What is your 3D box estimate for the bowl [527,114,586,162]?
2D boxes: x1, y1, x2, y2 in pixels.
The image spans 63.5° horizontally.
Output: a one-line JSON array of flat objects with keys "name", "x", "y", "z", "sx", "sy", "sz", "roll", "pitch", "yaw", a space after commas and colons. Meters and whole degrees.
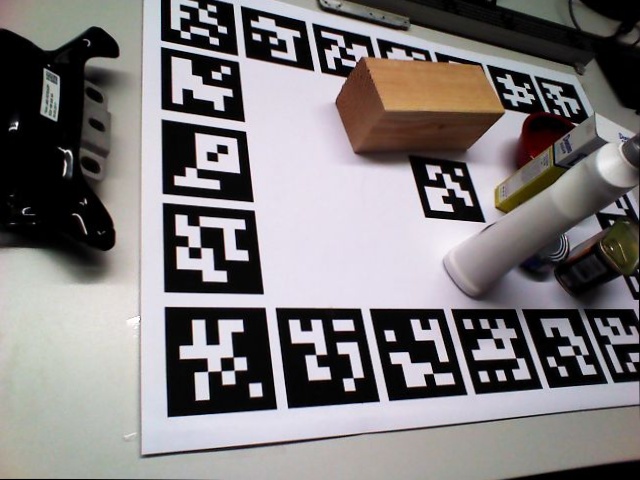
[{"name": "bowl", "x": 0.378, "y": -0.116, "z": 0.797, "sx": 0.161, "sy": 0.055, "sz": 0.161, "roll": 9, "pitch": 59, "yaw": -16}]

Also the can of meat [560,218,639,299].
[{"name": "can of meat", "x": 0.389, "y": 0.027, "z": 0.707, "sx": 0.101, "sy": 0.084, "sz": 0.058, "roll": -29, "pitch": 74, "yaw": -36}]

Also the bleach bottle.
[{"name": "bleach bottle", "x": 0.252, "y": -0.026, "z": 0.566, "sx": 0.102, "sy": 0.252, "sz": 0.068, "roll": -24, "pitch": 73, "yaw": -33}]

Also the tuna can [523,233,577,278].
[{"name": "tuna can", "x": 0.301, "y": 0.008, "z": 0.700, "sx": 0.085, "sy": 0.034, "sz": 0.085, "roll": 10, "pitch": 62, "yaw": -19}]

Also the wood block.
[{"name": "wood block", "x": 0.140, "y": -0.179, "z": 0.705, "sx": 0.205, "sy": 0.090, "sz": 0.090, "roll": -5, "pitch": 69, "yaw": -28}]

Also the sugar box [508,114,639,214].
[{"name": "sugar box", "x": 0.340, "y": -0.078, "z": 0.679, "sx": 0.093, "sy": 0.177, "sz": 0.045, "roll": 21, "pitch": 58, "yaw": -9}]
